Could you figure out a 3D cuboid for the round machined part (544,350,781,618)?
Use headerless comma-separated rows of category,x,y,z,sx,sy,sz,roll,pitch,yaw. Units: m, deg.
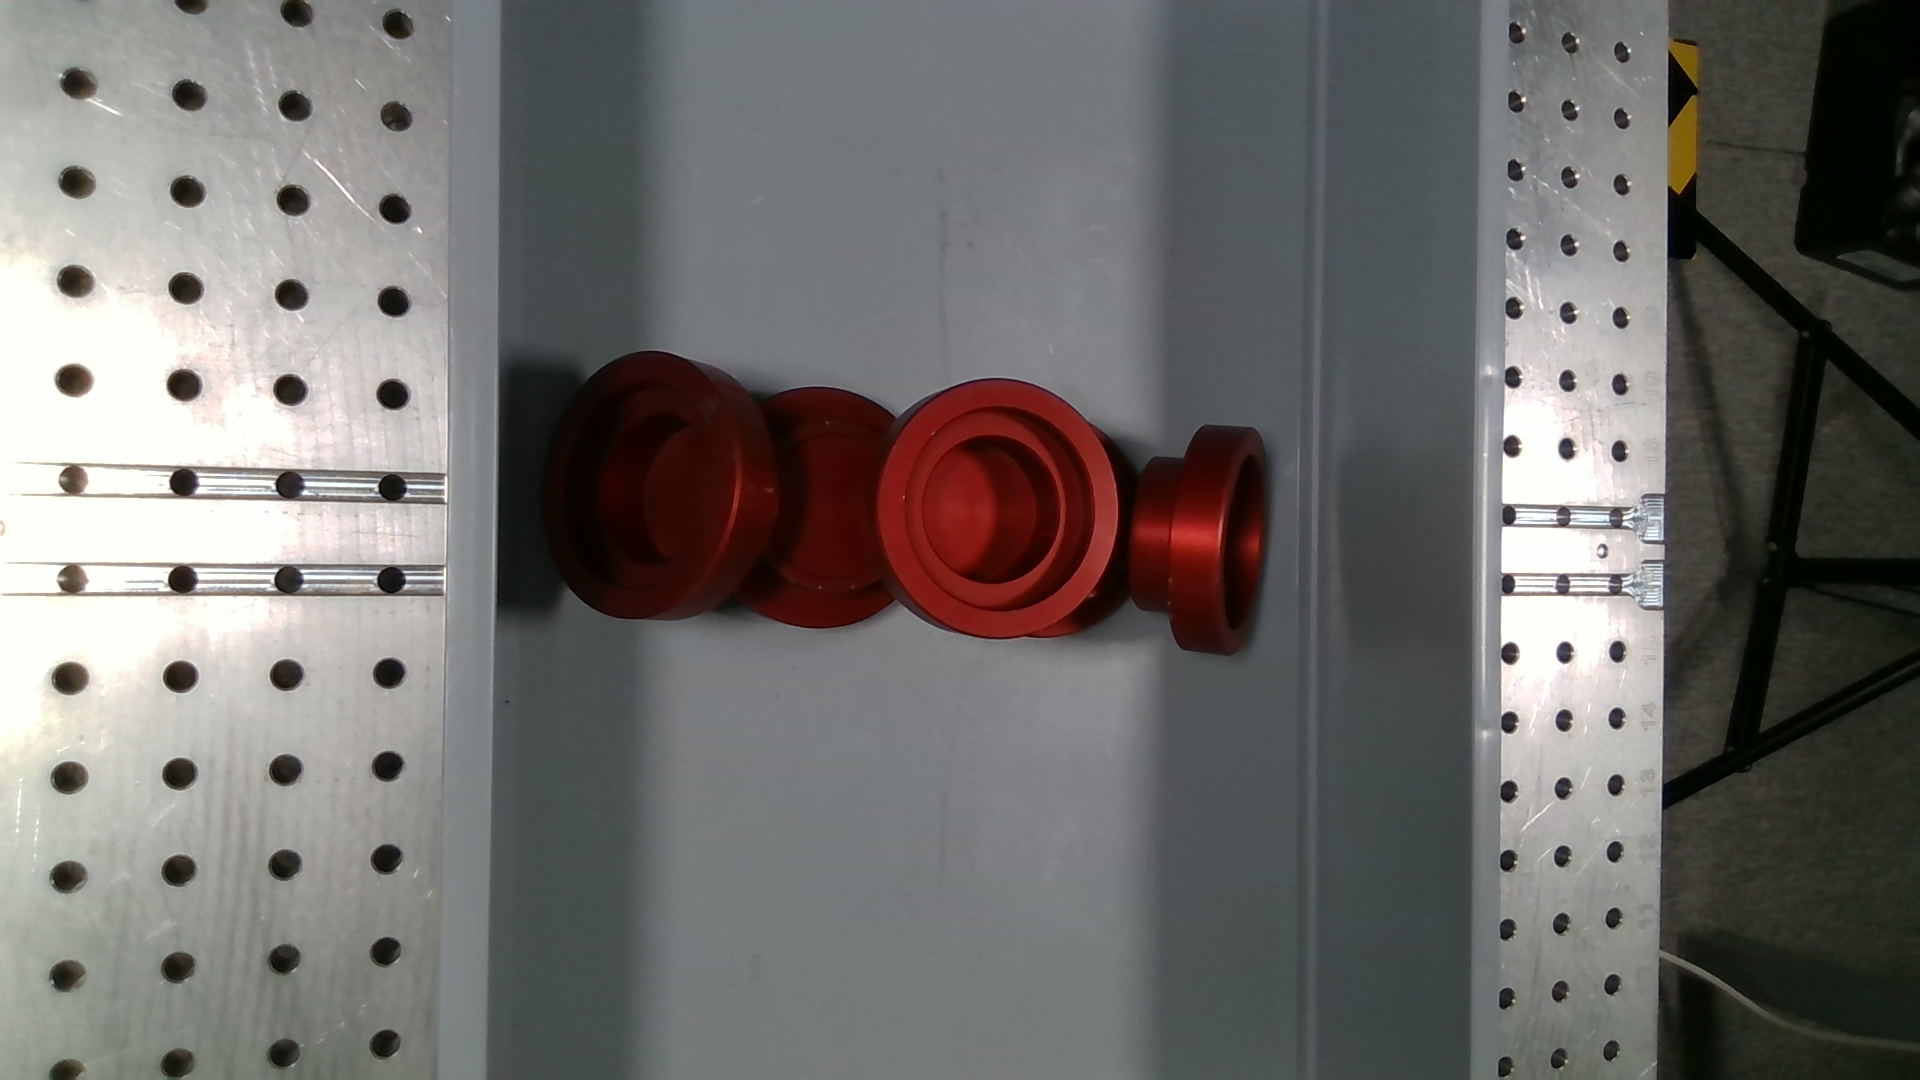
round machined part,-0.107,-0.019,0.517,0.042,0.098,0.098,9,86,-58

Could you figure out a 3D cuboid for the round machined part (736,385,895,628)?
round machined part,-0.056,-0.013,0.554,0.098,0.042,0.098,0,90,-20

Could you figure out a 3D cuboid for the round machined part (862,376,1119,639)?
round machined part,0.009,-0.012,0.533,0.098,0.042,0.098,0,90,-20

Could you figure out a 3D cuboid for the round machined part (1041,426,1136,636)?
round machined part,0.036,-0.007,0.589,0.098,0.042,0.098,0,90,-20

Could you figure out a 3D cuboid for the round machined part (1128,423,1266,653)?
round machined part,0.102,-0.002,0.594,0.042,0.098,0.098,6,87,22
